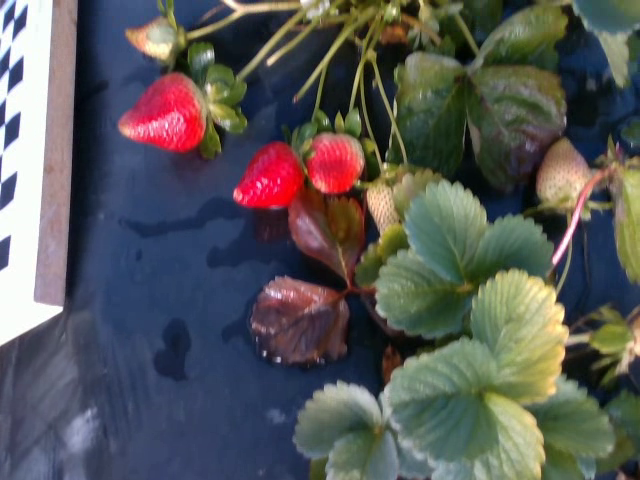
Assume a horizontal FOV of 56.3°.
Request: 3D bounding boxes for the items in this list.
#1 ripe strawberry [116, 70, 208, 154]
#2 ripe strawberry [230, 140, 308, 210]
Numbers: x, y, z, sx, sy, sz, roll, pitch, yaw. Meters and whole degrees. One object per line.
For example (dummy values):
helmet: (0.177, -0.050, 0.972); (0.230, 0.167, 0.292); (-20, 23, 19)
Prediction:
ripe strawberry: (-0.106, -0.084, 0.395); (0.065, 0.050, 0.050); (-19, 41, -27)
ripe strawberry: (-0.037, -0.038, 0.374); (0.044, 0.042, 0.055); (11, 34, 44)
